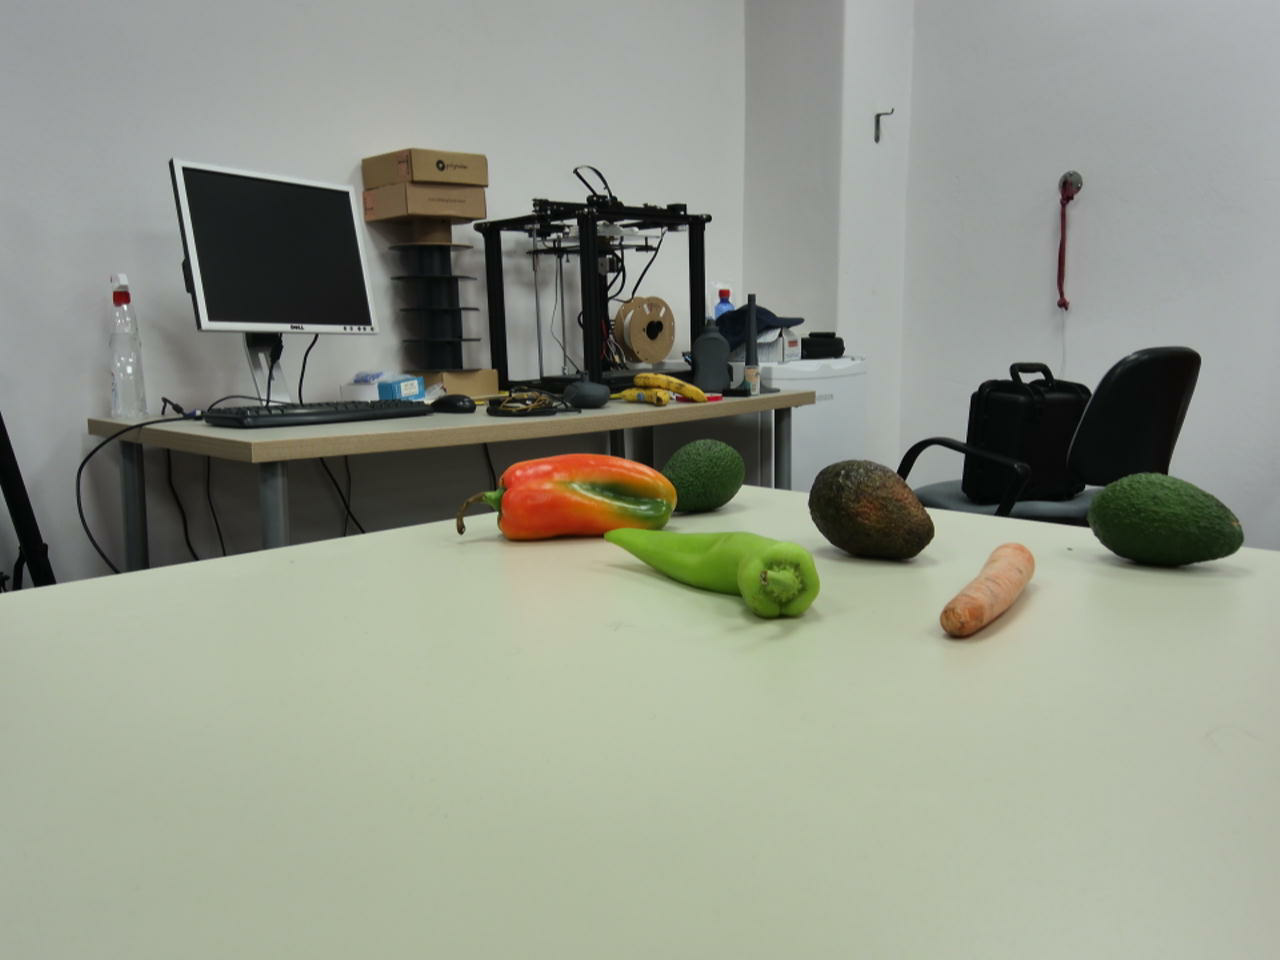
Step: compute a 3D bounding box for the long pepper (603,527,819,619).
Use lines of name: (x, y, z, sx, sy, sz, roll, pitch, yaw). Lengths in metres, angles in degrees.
long pepper: (0.049, 0.050, 0.646, 0.065, 0.045, 0.205, -3, 7, -27)
